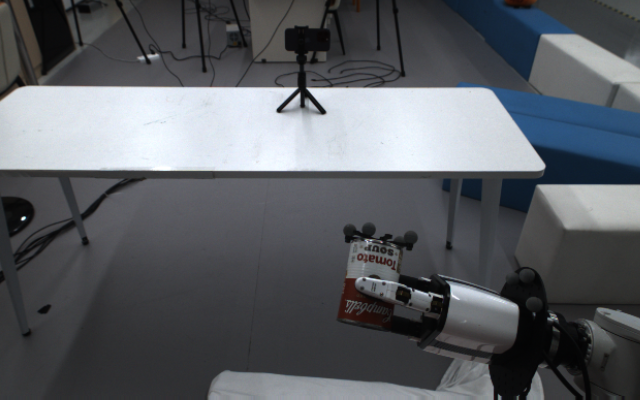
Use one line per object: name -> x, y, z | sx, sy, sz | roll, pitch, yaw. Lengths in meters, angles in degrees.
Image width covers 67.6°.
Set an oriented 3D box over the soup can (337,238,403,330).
soup can -> 0.065, 0.104, 0.598 | 0.067, 0.067, 0.101 | 9, 74, 9
